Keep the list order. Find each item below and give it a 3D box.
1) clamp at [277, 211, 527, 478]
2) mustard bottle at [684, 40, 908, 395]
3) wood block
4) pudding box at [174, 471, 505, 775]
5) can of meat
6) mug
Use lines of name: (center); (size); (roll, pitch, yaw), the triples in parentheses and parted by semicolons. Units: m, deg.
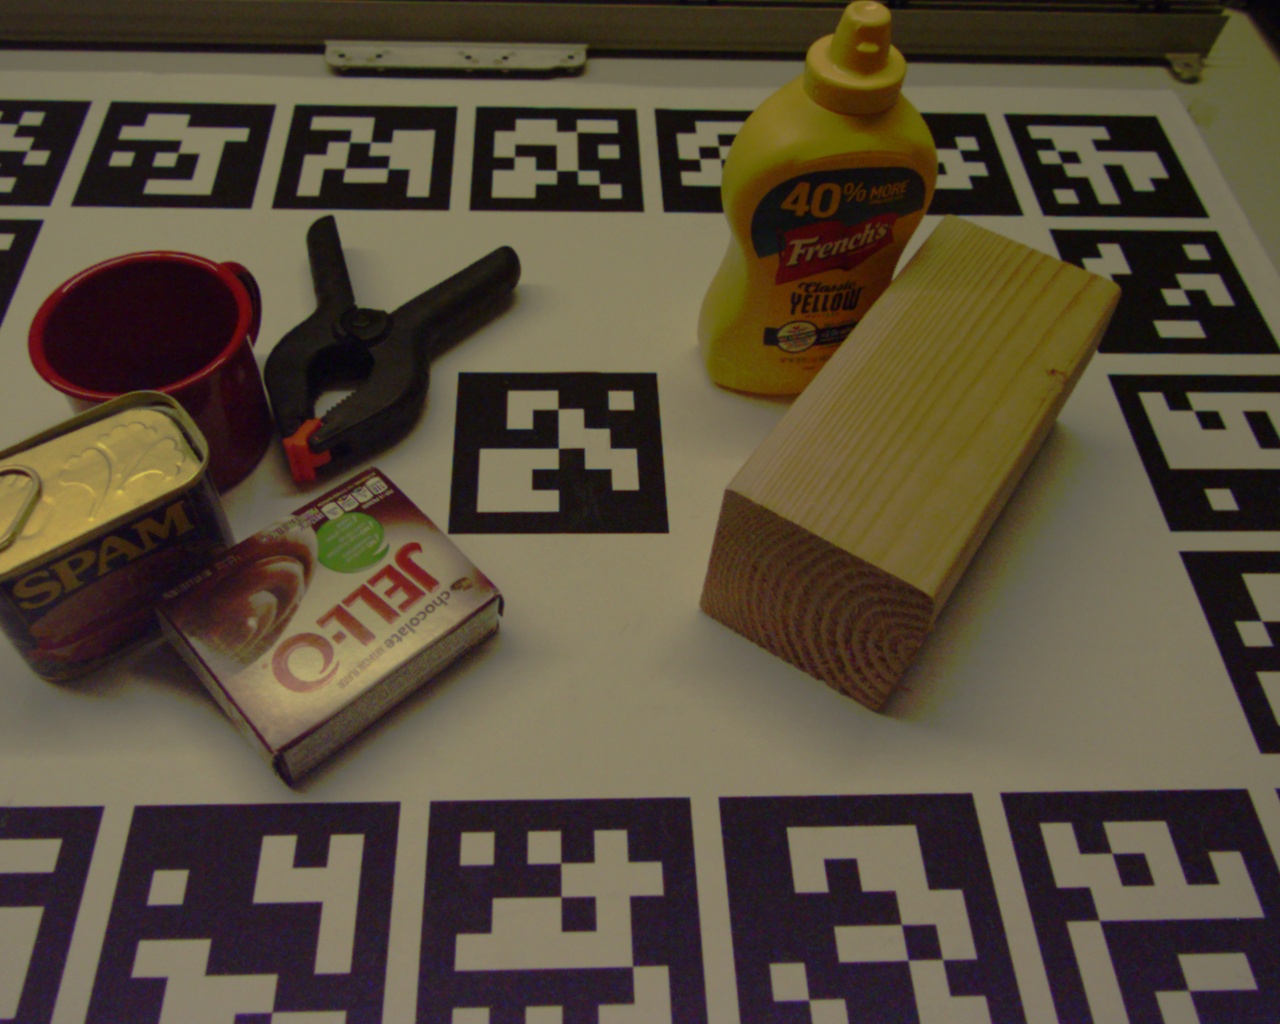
clamp: (-0.142, -0.089, 0.607); (0.122, 0.036, 0.165); (16, 57, 6)
mustard bottle: (0.077, -0.138, 0.551); (0.096, 0.191, 0.059); (-4, 56, -6)
wood block: (0.119, -0.021, 0.538); (0.091, 0.091, 0.205); (30, 56, 19)
pudding box: (-0.130, 0.046, 0.504); (0.113, 0.038, 0.091); (-35, 64, -26)
can of meat: (-0.227, 0.012, 0.489); (0.101, 0.083, 0.058); (-26, 62, -20)
mug: (-0.222, -0.060, 0.576); (0.094, 0.081, 0.117); (18, 57, 9)
